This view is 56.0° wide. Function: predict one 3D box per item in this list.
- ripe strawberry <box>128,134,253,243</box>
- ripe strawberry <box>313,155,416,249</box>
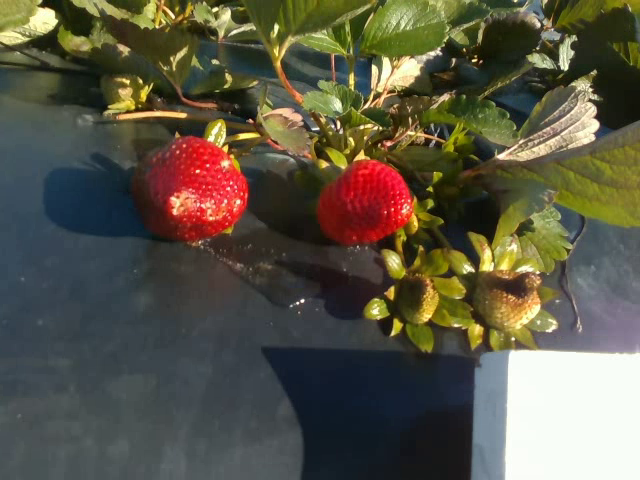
[{"bbox_3d":[-0.051,-0.017,0.218,0.050,0.045,0.050,23,7,-5],"label":"ripe strawberry"},{"bbox_3d":[0.021,-0.013,0.233,0.042,0.039,0.049,-39,22,-13],"label":"ripe strawberry"}]
